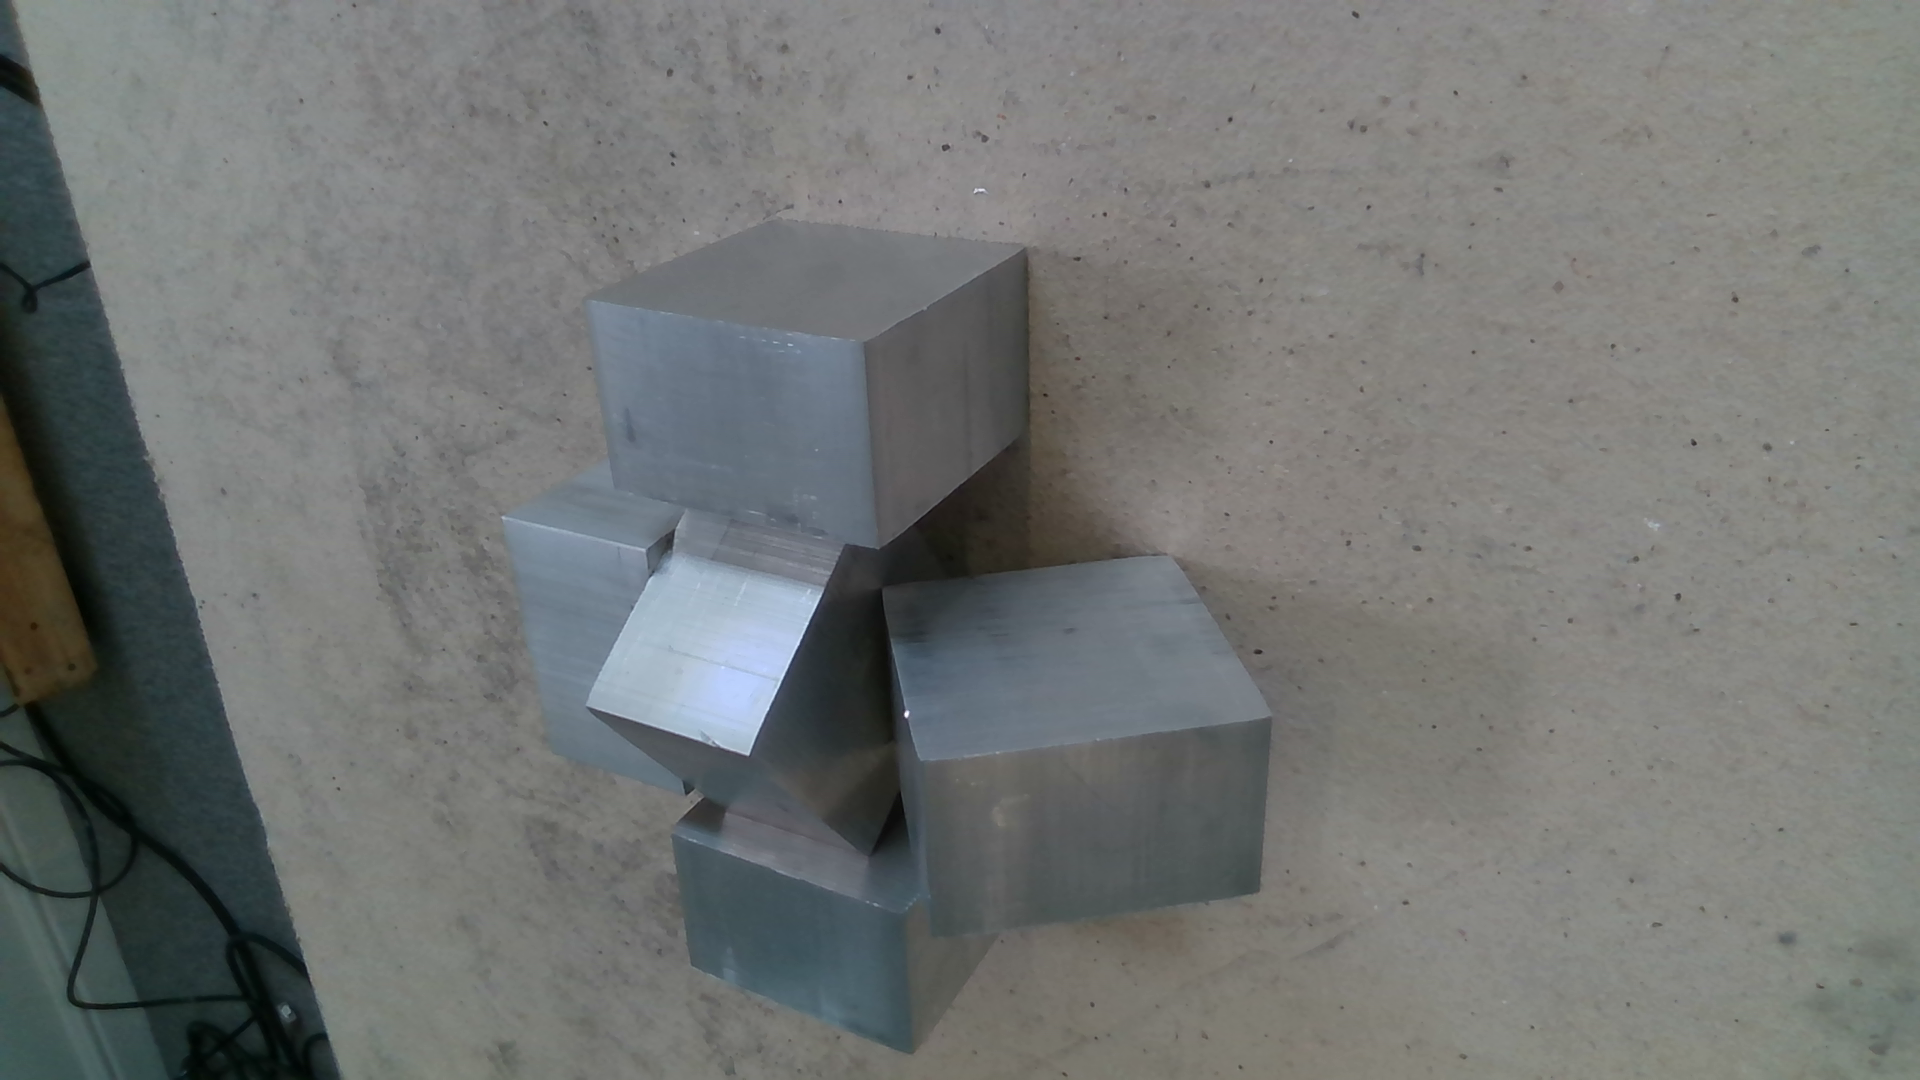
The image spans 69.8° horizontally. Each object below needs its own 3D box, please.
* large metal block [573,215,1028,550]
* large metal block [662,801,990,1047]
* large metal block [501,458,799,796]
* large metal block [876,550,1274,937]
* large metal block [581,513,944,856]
[{"bbox_3d":[-0.036,-0.044,0.350,0.080,0.080,0.050,12,121,26],"label":"large metal block"},{"bbox_3d":[-0.032,0.097,0.426,0.080,0.080,0.050,12,121,25],"label":"large metal block"},{"bbox_3d":[-0.083,0.016,0.414,0.050,0.080,0.080,12,121,26],"label":"large metal block"},{"bbox_3d":[0.025,0.047,0.345,0.080,0.080,0.050,-6,117,-7],"label":"large metal block"},{"bbox_3d":[-0.046,0.031,0.380,0.050,0.080,0.080,12,156,25],"label":"large metal block"}]
